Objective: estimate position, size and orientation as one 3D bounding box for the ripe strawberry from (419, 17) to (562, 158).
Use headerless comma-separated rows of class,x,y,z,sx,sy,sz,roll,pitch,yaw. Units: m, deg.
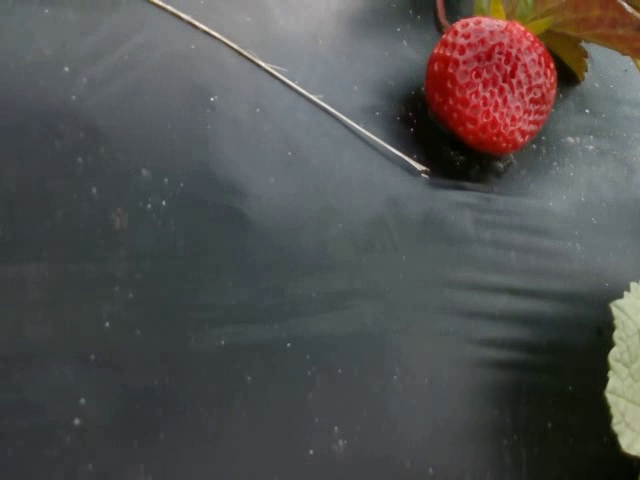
ripe strawberry,0.032,-0.029,0.110,0.028,0.033,0.023,27,-32,-8
